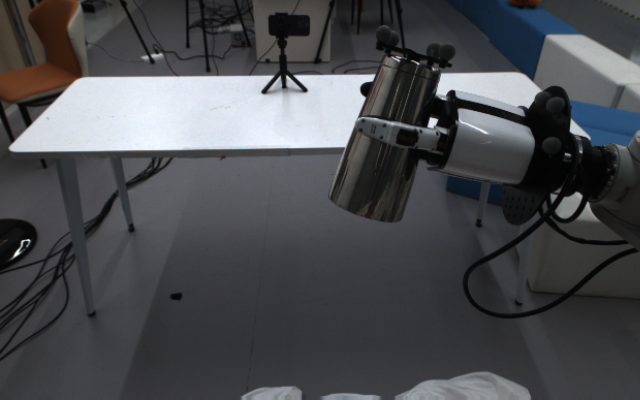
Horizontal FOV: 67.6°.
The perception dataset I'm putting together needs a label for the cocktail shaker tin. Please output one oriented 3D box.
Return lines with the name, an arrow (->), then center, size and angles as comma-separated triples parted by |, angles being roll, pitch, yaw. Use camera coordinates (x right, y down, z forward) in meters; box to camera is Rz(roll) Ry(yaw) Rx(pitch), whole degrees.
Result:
cocktail shaker tin -> 0.078, -0.071, 0.549 | 0.093, 0.170, 0.093 | 15, 17, -5
